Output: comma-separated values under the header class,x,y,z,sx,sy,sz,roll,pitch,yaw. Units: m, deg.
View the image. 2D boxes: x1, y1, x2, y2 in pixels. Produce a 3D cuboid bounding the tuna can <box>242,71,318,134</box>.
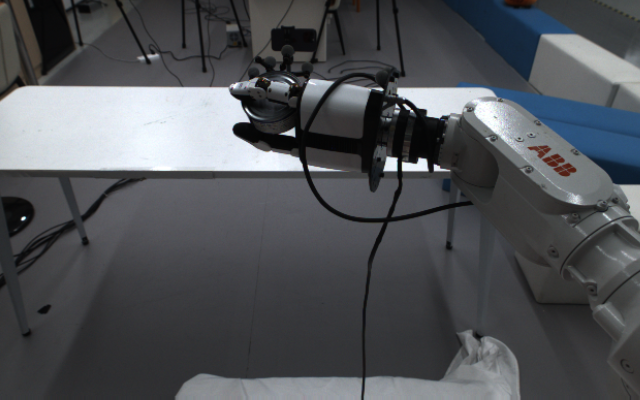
class,x,y,z,sx,sy,sz,roll,pitch,yaw
tuna can,-0.062,-0.133,0.662,0.085,0.034,0.085,-6,61,10
